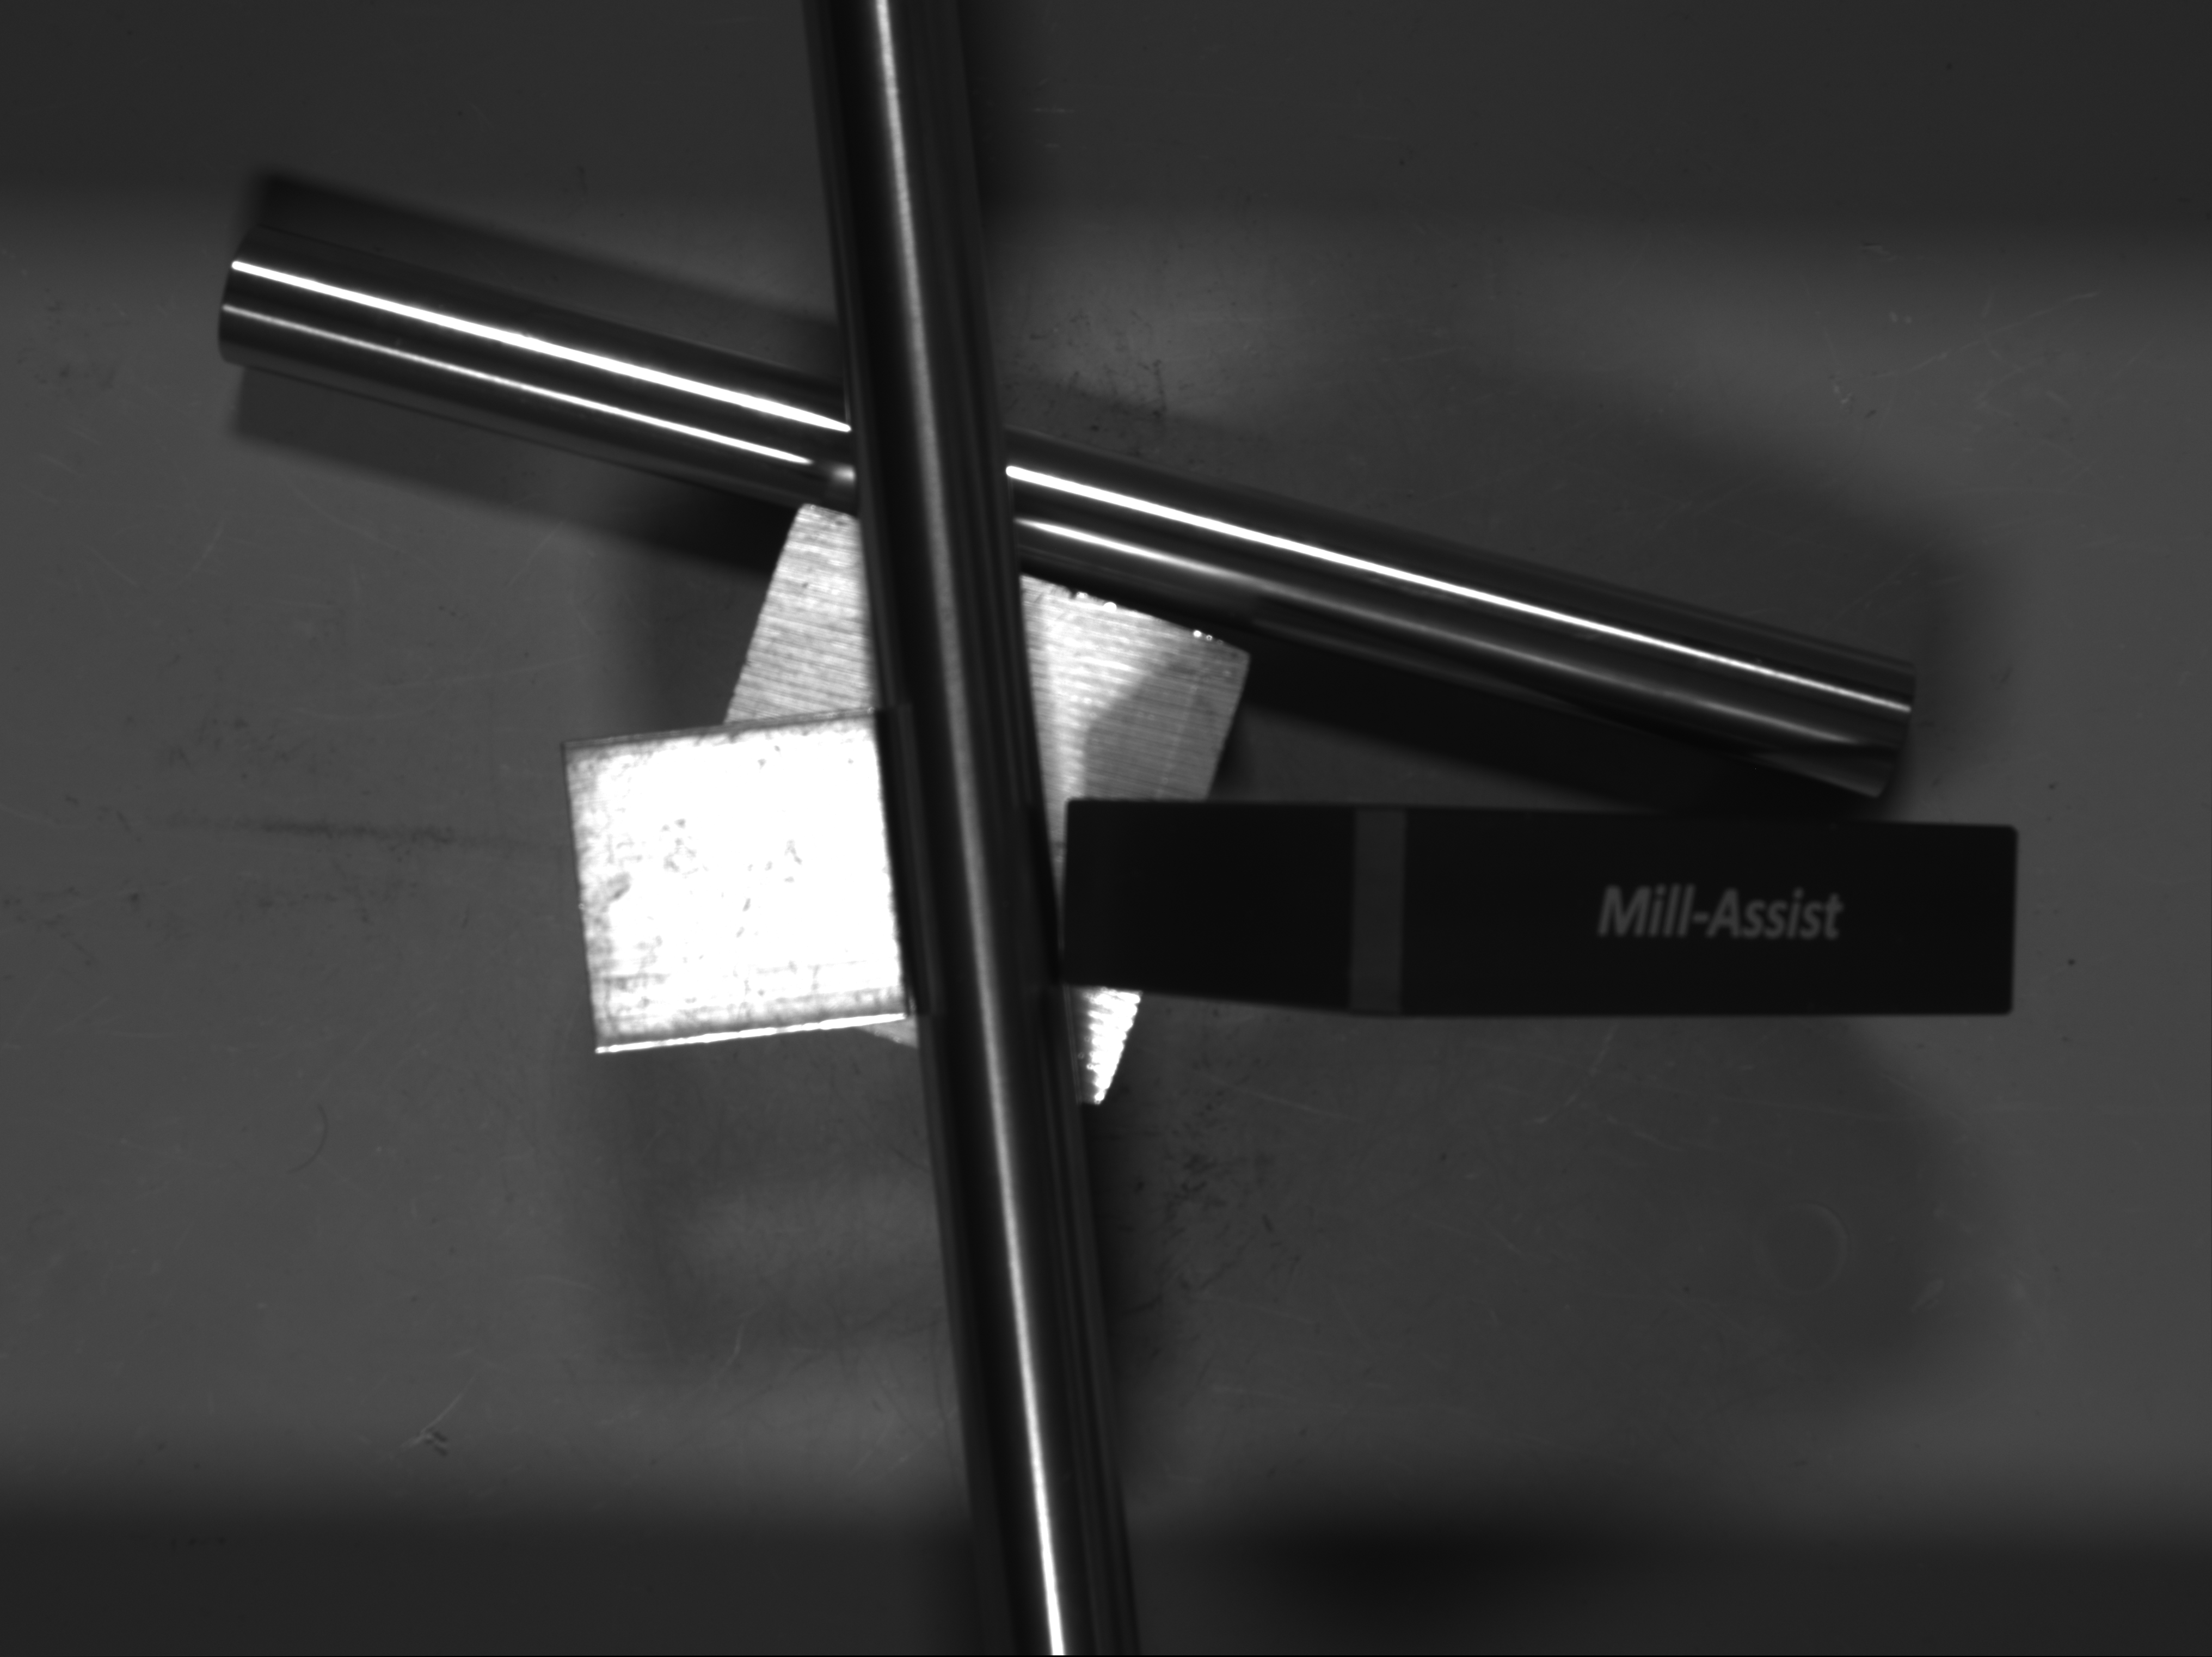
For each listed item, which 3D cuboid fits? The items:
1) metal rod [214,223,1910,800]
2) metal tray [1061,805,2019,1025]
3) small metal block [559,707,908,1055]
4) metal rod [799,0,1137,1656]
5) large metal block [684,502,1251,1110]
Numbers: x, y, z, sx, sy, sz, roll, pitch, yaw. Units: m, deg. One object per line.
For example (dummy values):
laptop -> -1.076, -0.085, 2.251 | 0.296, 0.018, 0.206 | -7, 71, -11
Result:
metal rod -> -0.007, -0.056, 0.645 | 0.300, 0.025, 0.025 | 15, 90, 0
metal tray -> 0.069, 0.013, 0.586 | 0.130, 0.090, 0.030 | 1, 91, -32
small metal block -> -0.059, 0.008, 0.593 | 0.050, 0.025, 0.050 | -6, 89, -1
metal rod -> -0.023, -0.002, 0.594 | 0.025, 0.025, 0.300 | -6, 90, 0
large metal block -> -0.026, -0.004, 0.632 | 0.080, 0.050, 0.080 | 18, 90, 0
